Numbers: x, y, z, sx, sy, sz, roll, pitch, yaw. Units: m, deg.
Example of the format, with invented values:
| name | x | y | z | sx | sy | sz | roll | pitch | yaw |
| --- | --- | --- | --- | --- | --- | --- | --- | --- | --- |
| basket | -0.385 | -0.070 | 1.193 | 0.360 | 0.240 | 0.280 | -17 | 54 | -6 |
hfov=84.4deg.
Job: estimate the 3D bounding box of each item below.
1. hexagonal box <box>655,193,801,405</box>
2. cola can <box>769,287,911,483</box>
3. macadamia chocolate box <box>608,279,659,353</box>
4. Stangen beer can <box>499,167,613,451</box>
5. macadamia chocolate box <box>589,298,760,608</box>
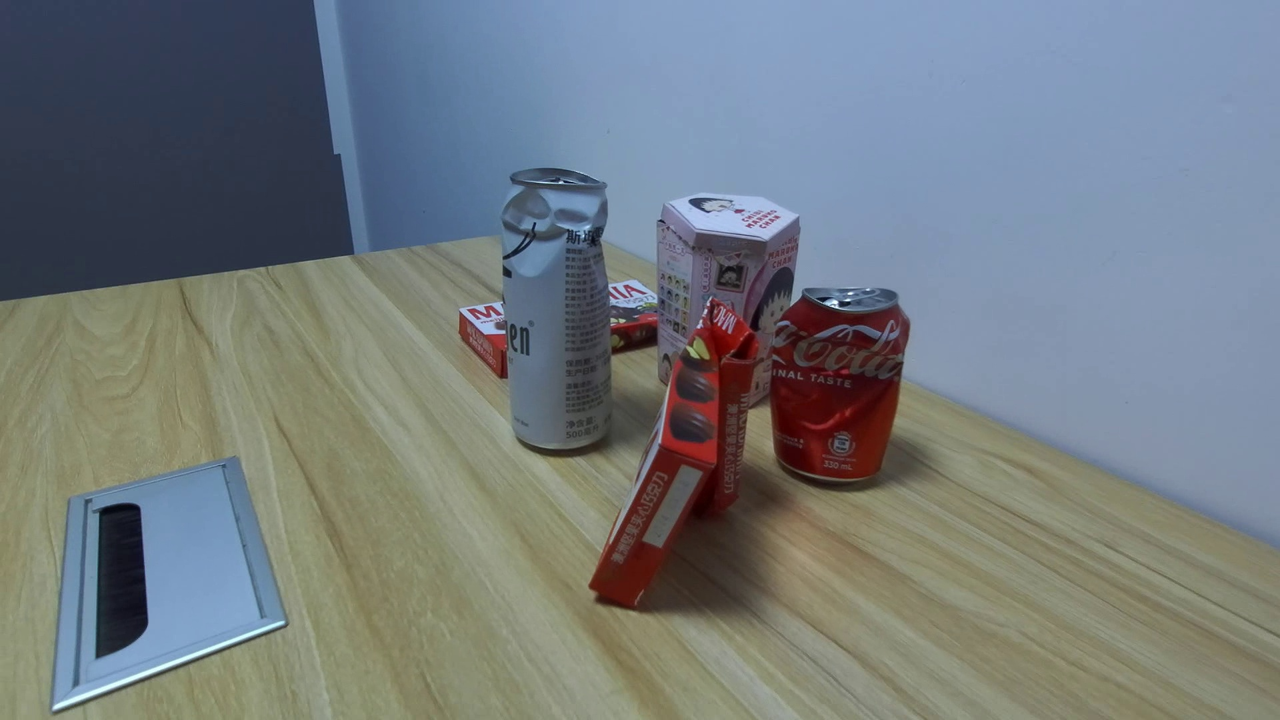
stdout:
| name | x | y | z | sx | sy | sz | roll | pitch | yaw |
| --- | --- | --- | --- | --- | --- | --- | --- | --- | --- |
| hexagonal box | 0.059 | -0.044 | 0.502 | 0.084 | 0.135 | 0.092 | 20 | 32 | 32 |
| cola can | 0.117 | 0.013 | 0.410 | 0.069 | 0.112 | 0.066 | 17 | 28 | 29 |
| macadamia chocolate box | -0.050 | -0.031 | 0.607 | 0.187 | 0.027 | 0.102 | -14 | 33 | -31 |
| Stangen beer can | -0.048 | -0.028 | 0.430 | 0.066 | 0.166 | 0.066 | 13 | 27 | 22 |
| macadamia chocolate box | 0.020 | 0.044 | 0.354 | 0.056 | 0.112 | 0.126 | 11 | 26 | 16 |
